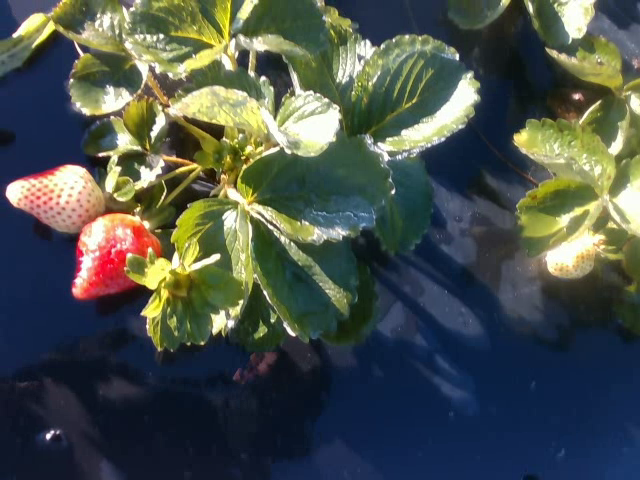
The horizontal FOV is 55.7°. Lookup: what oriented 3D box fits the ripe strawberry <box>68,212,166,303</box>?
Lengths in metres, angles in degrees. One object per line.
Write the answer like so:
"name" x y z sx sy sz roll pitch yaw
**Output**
"ripe strawberry" -0.097 0.010 0.271 0.040 0.037 0.055 9 26 19
